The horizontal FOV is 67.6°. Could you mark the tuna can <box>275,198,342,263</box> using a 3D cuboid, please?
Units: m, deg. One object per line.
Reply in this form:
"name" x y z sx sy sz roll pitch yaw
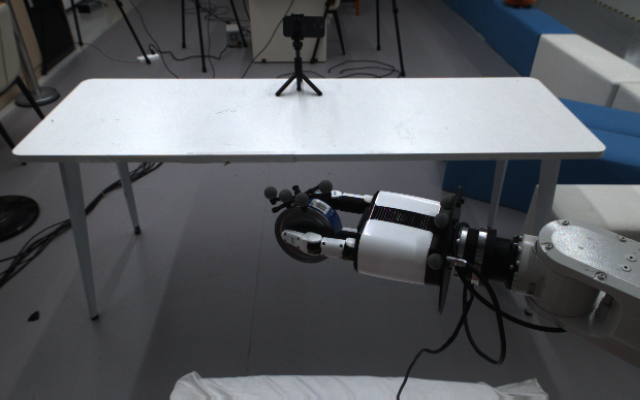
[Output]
"tuna can" -0.012 0.044 0.643 0.085 0.085 0.034 13 28 15
